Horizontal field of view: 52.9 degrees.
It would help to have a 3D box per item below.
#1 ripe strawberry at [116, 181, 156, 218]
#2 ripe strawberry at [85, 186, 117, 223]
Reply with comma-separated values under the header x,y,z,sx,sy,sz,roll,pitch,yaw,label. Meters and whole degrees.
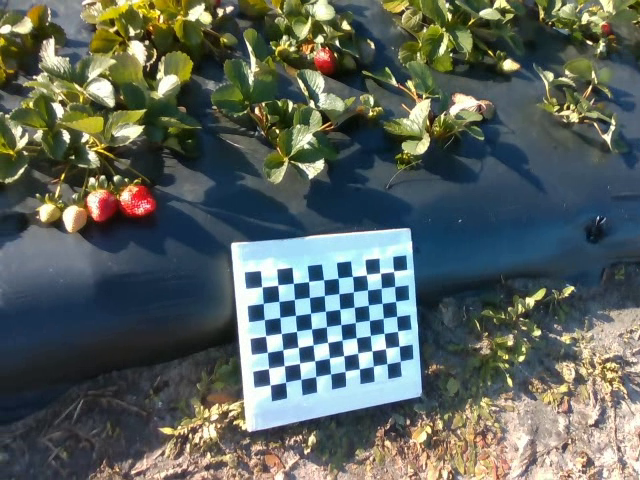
x,y,z,sx,sy,sz,roll,pitch,yaw,label
-0.251,-0.053,0.891,0.067,0.057,0.052,24,-15,35,ripe strawberry
-0.303,-0.046,0.877,0.050,0.061,0.044,20,-53,-22,ripe strawberry
